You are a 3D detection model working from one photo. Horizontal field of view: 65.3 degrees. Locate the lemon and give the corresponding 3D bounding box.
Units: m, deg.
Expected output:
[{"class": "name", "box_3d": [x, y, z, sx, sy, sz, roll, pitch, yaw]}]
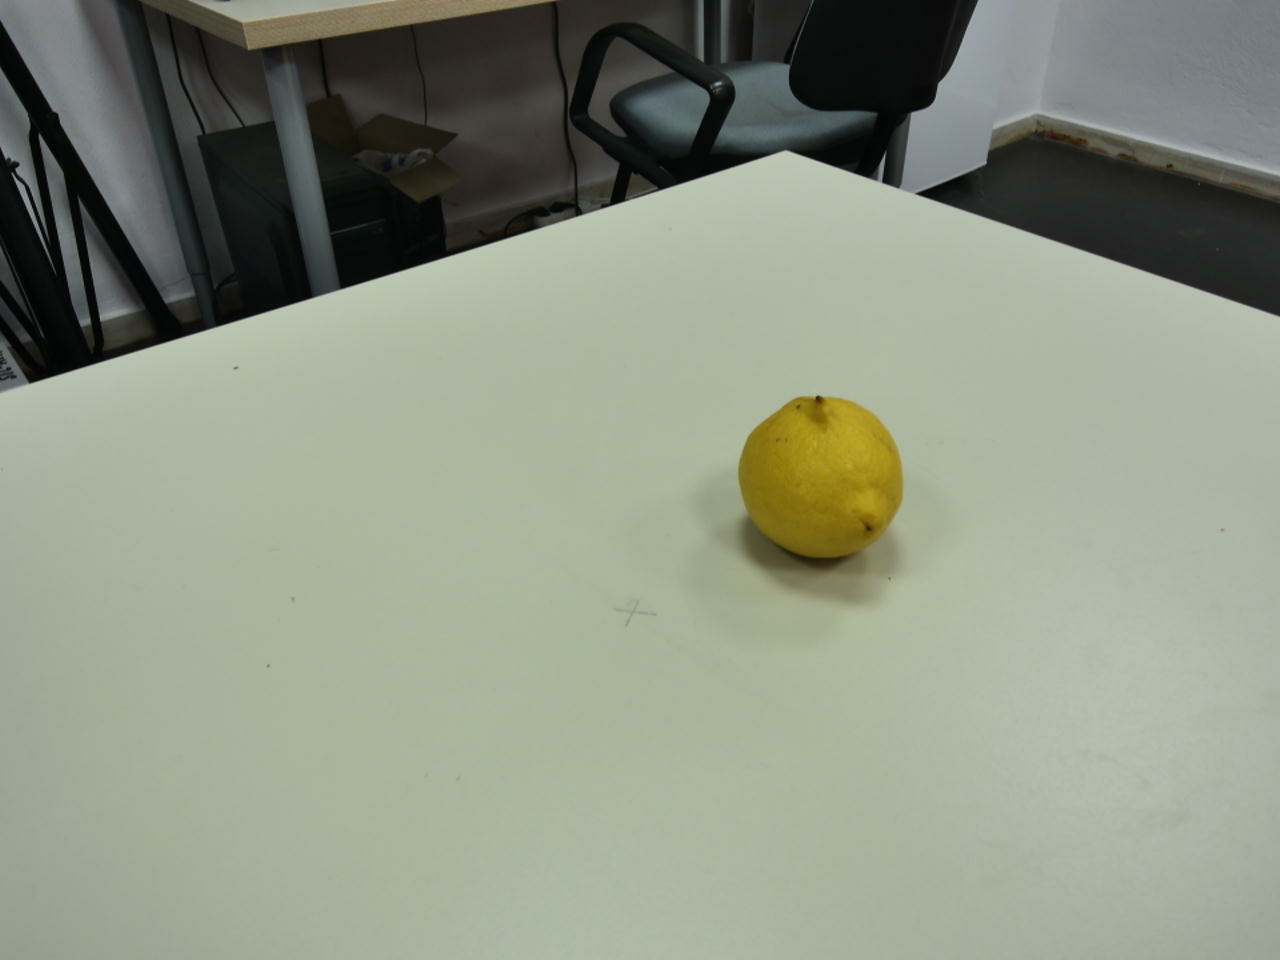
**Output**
[{"class": "lemon", "box_3d": [0.077, -0.004, 0.426, 0.070, 0.071, 0.071, 11, 36, 15]}]
